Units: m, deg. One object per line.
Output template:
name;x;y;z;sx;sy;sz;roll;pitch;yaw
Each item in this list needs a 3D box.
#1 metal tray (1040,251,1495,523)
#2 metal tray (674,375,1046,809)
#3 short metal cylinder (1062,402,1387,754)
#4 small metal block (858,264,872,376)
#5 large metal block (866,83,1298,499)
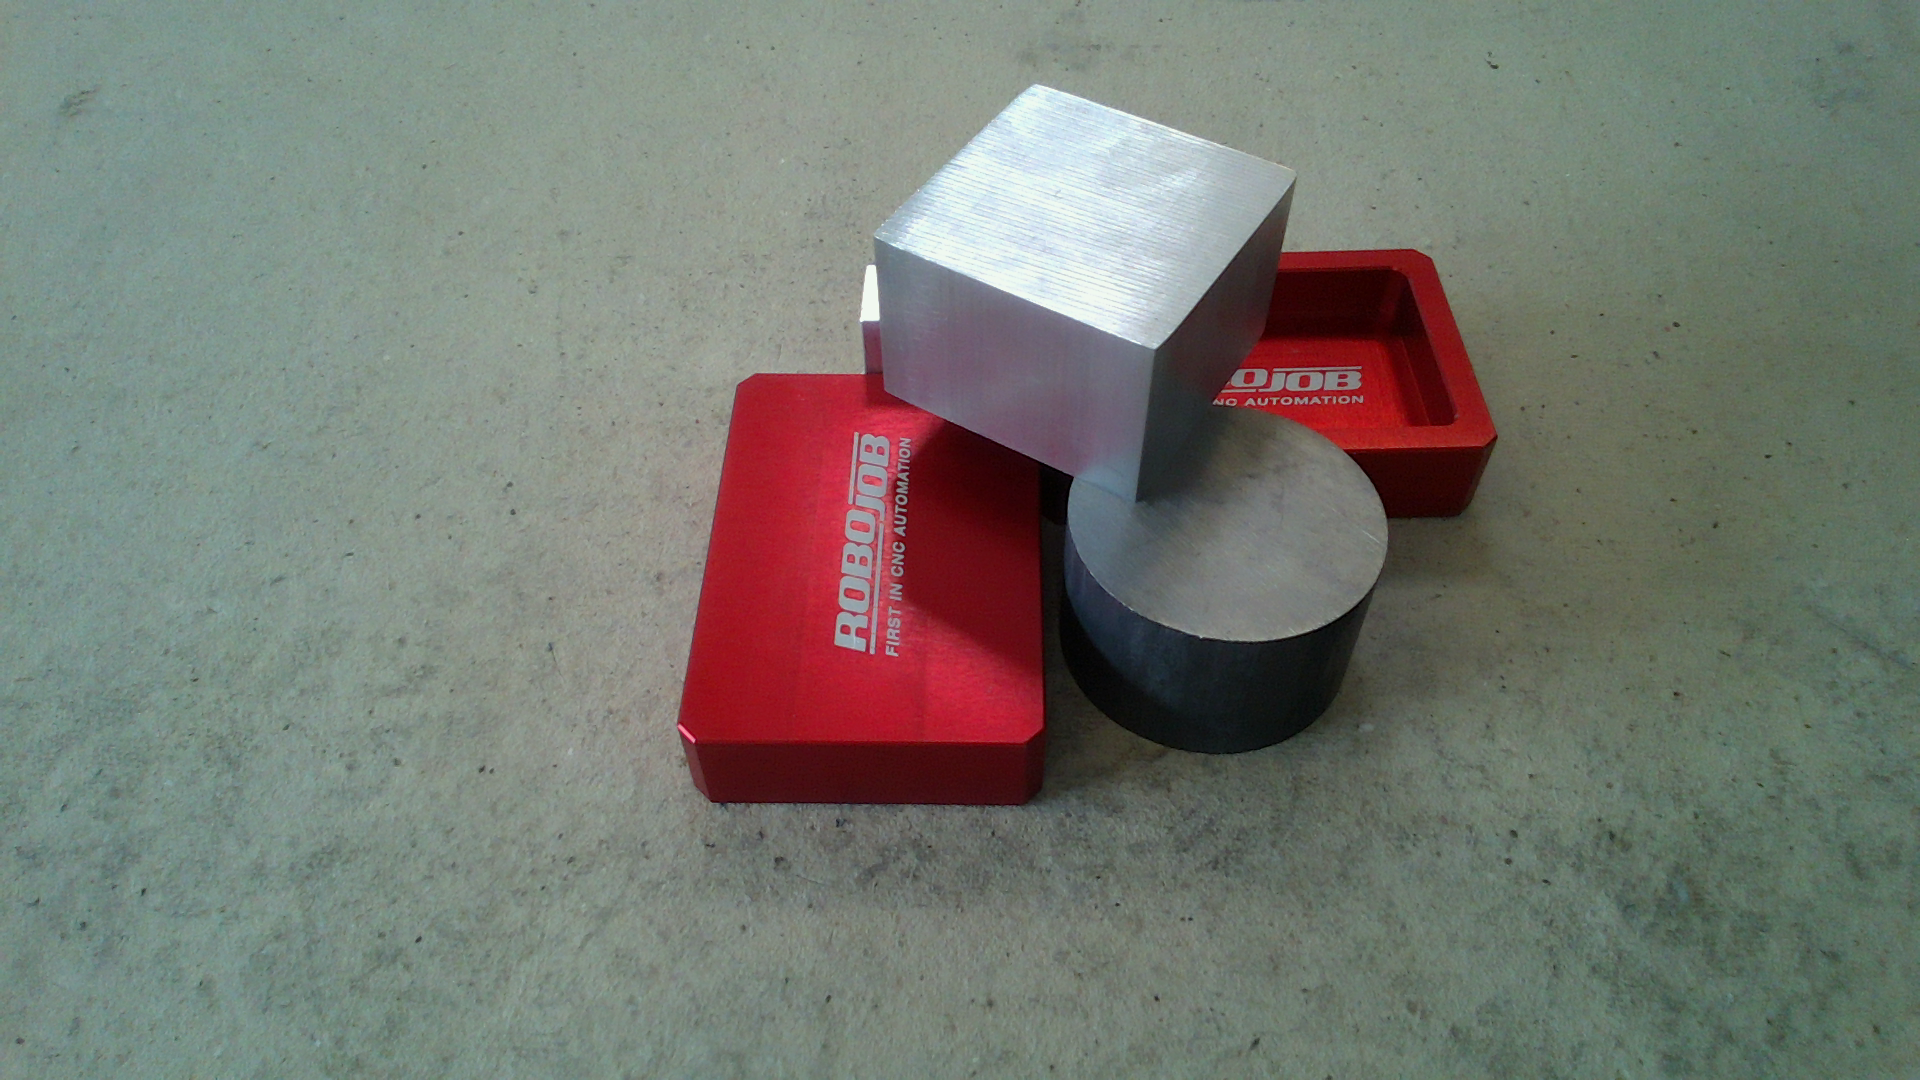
metal tray;0.088;-0.050;0.430;0.130;0.030;0.090;-1;50;-1
metal tray;-0.023;0.009;0.382;0.090;0.030;0.130;0;50;1
short metal cylinder;0.068;0.009;0.367;0.080;0.050;0.080;0;50;1
small metal block;-0.004;-0.057;0.424;0.050;0.050;0.025;1;50;1
large metal block;0.032;-0.069;0.366;0.080;0.050;0.080;26;55;20
